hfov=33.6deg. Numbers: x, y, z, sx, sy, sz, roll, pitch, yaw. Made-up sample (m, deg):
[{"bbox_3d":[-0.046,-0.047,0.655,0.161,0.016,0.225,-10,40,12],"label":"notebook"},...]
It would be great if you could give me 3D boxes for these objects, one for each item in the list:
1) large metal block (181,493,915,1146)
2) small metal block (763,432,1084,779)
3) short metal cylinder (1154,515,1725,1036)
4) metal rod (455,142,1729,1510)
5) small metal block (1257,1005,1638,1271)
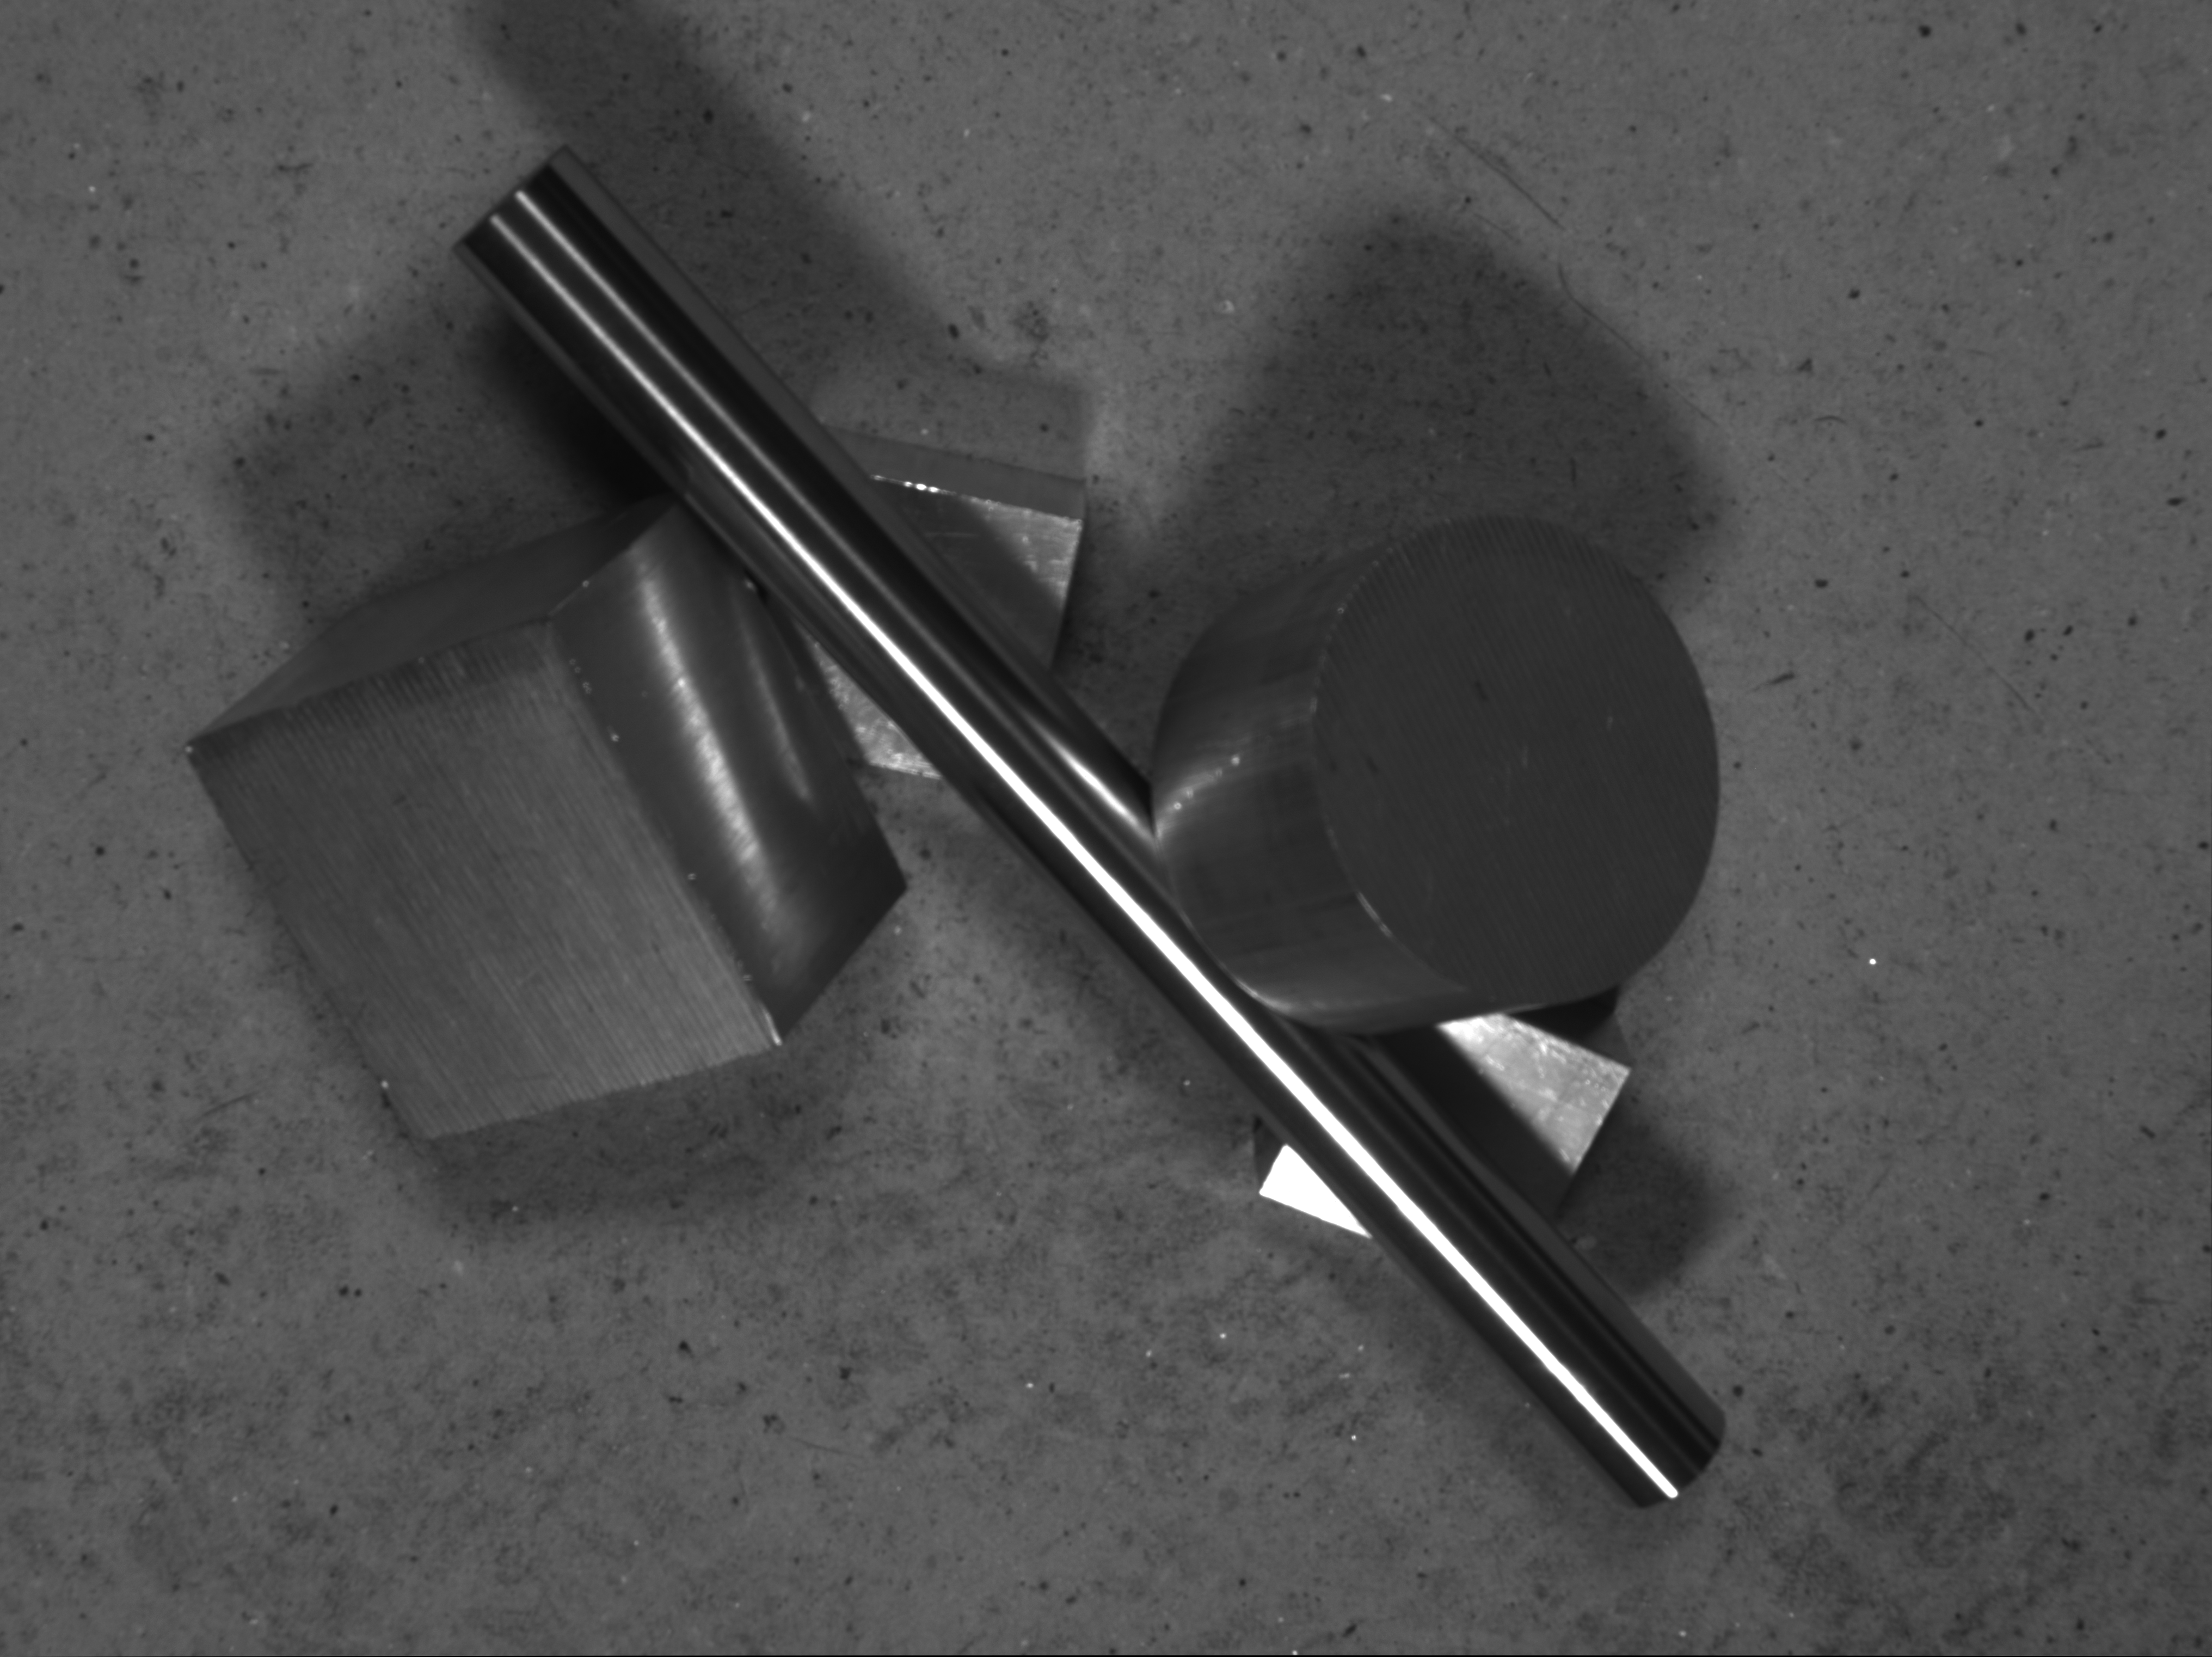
[{"bbox_3d":[-0.092,-0.001,0.611,0.080,0.050,0.080,-16,112,30],"label":"large metal block"},{"bbox_3d":[-0.034,-0.038,0.629,0.050,0.025,0.050,12,109,-5],"label":"small metal block"},{"bbox_3d":[0.055,-0.007,0.607,0.080,0.050,0.080,5,79,-29],"label":"short metal cylinder"},{"bbox_3d":[0.004,0.006,0.619,0.025,0.025,0.300,-39,106,12],"label":"metal rod"},{"bbox_3d":[0.061,0.049,0.662,0.050,0.025,0.050,23,108,-9],"label":"small metal block"}]
